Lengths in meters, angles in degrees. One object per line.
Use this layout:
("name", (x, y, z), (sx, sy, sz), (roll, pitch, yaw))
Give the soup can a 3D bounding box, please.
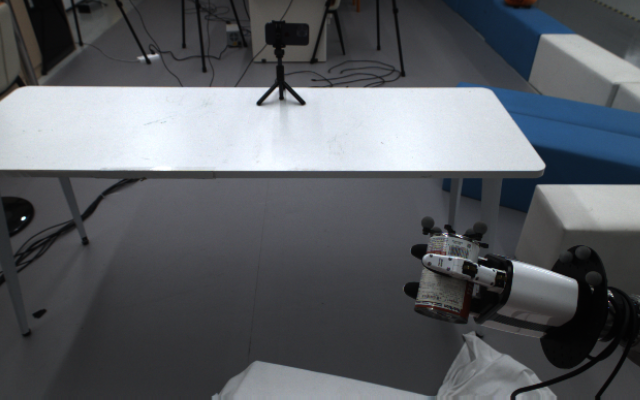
("soup can", (0.167, 0.100, 0.624), (0.067, 0.067, 0.101), (11, 72, 13))
